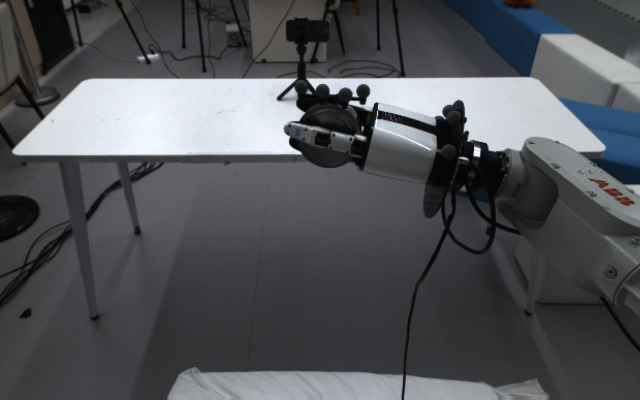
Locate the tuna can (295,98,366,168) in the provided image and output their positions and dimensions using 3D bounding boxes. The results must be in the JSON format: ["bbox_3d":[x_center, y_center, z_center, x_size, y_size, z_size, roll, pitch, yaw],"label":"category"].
[{"bbox_3d":[0.014,-0.088,0.642,0.085,0.085,0.034,6,22,6],"label":"tuna can"}]
